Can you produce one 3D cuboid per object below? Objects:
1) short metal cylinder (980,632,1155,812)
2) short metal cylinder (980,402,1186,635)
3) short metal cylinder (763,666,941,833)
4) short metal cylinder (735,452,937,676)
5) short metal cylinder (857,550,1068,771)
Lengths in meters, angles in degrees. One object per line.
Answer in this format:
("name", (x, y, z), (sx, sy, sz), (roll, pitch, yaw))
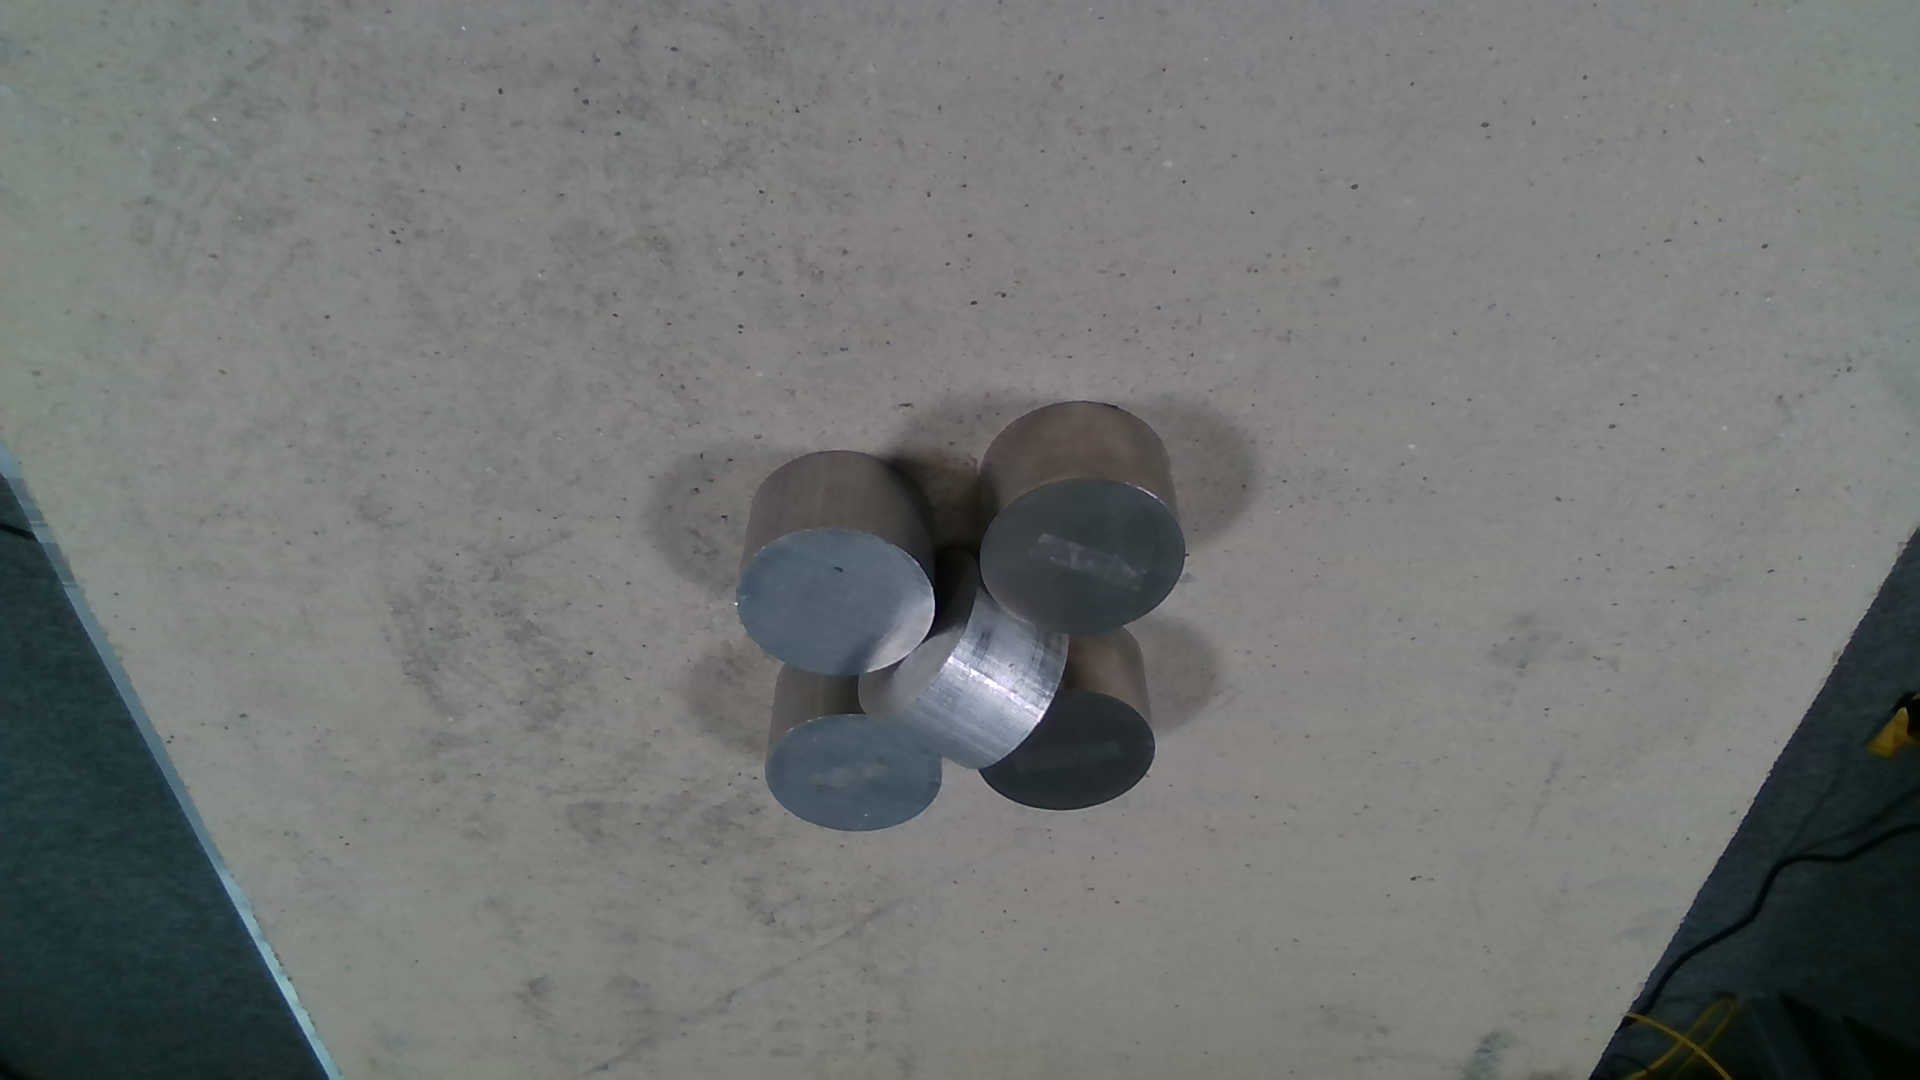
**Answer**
("short metal cylinder", (0.046, 0.078, 0.626), (0.080, 0.050, 0.080), (0, 130, 0))
("short metal cylinder", (0.048, -0.008, 0.555), (0.080, 0.050, 0.080), (0, 130, 0))
("short metal cylinder", (-0.048, 0.091, 0.638), (0.080, 0.050, 0.080), (0, 130, 0))
("short metal cylinder", (-0.050, 0.010, 0.570), (0.080, 0.050, 0.080), (0, 130, 0))
("short metal cylinder", (0.000, 0.051, 0.587), (0.050, 0.080, 0.080), (32, 123, -24))
